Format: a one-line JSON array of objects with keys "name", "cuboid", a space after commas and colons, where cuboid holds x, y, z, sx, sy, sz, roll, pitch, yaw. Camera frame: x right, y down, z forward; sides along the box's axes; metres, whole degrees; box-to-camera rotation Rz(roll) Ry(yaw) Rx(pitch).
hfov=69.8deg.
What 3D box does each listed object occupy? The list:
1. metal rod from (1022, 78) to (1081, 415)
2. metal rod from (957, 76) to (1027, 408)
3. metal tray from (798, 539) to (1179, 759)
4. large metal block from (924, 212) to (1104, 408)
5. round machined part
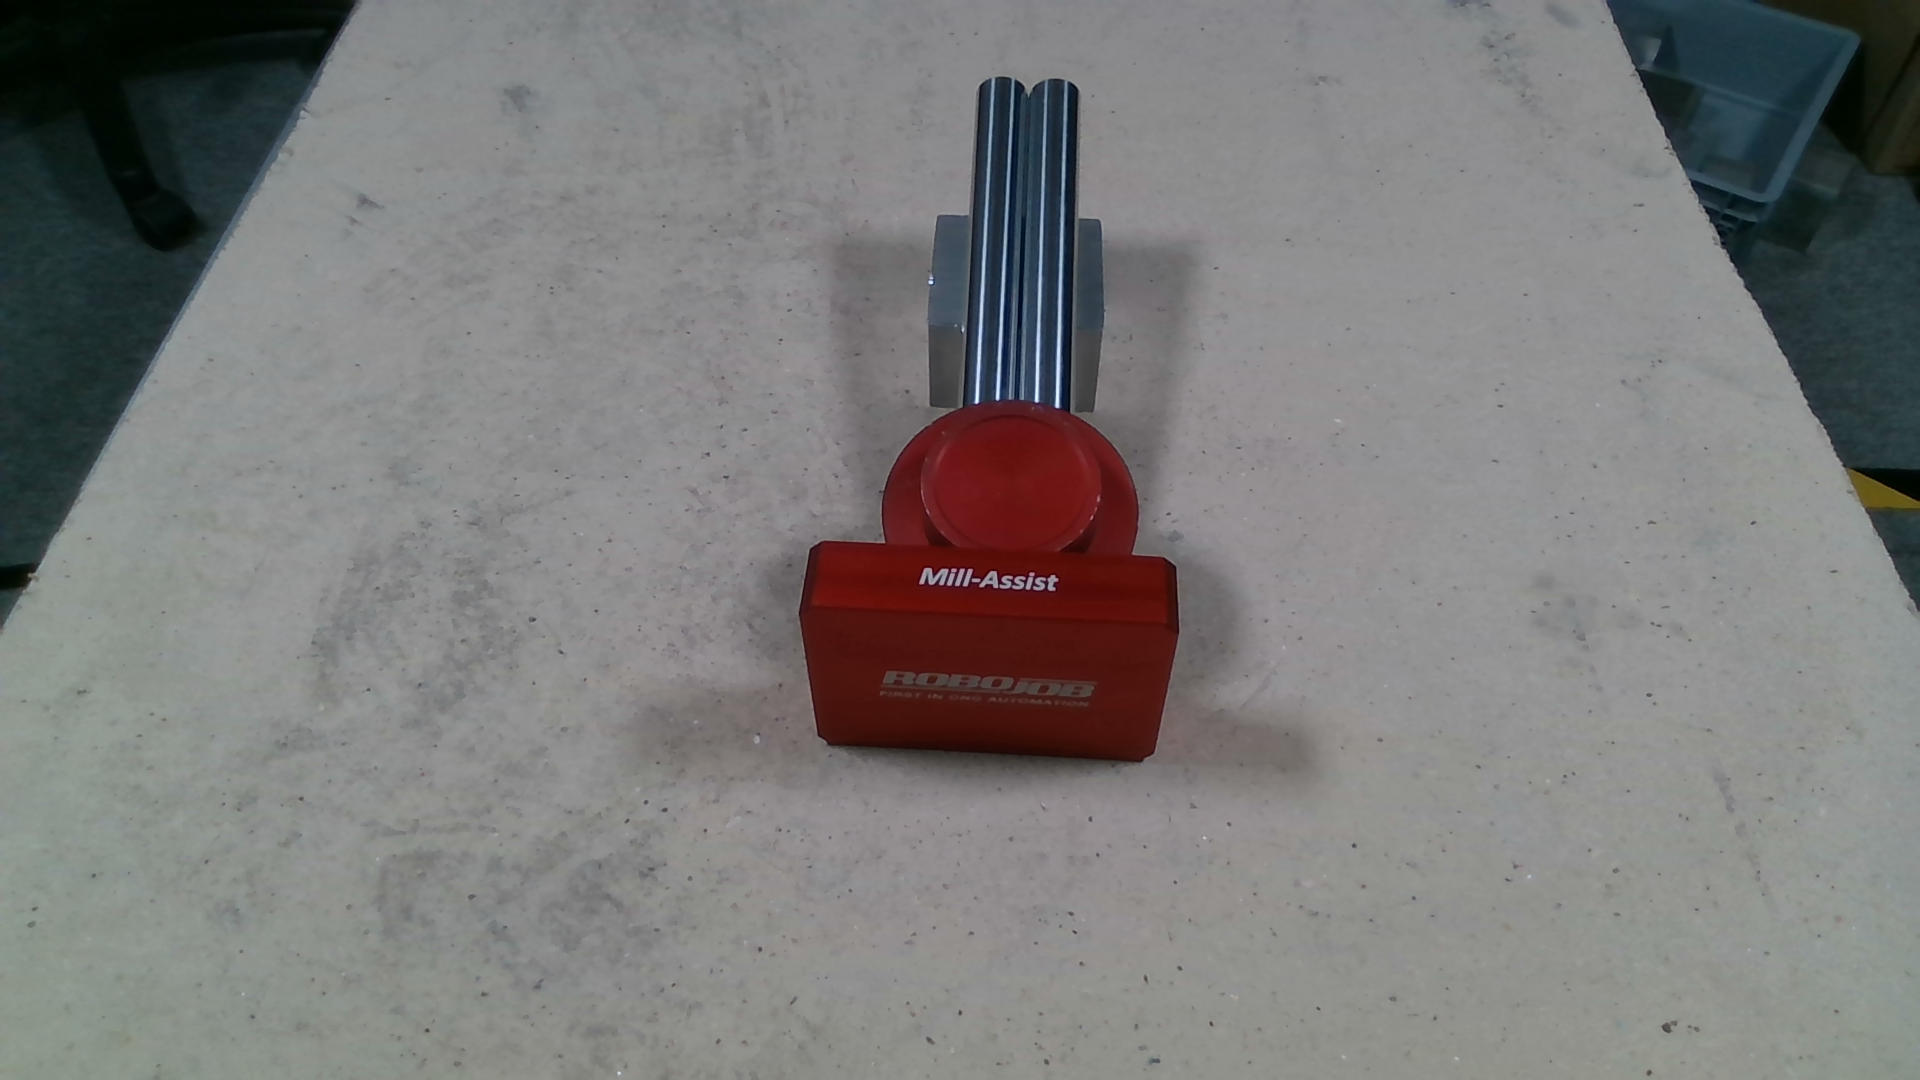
[{"name": "metal rod", "cuboid": [0.040, -0.081, 0.596, 0.025, 0.025, 0.299, 2, 63, 2]}, {"name": "metal rod", "cuboid": [0.013, -0.082, 0.597, 0.025, 0.025, 0.299, 2, 63, 2]}, {"name": "metal tray", "cuboid": [0.010, 0.042, 0.509, 0.130, 0.090, 0.030, 3, 50, 2]}, {"name": "large metal block", "cuboid": [0.026, -0.111, 0.659, 0.080, 0.050, 0.080, 2, 50, 2]}, {"name": "round machined part", "cuboid": [0.019, -0.014, 0.524, 0.098, 0.042, 0.098, -1, 61, 2]}]
